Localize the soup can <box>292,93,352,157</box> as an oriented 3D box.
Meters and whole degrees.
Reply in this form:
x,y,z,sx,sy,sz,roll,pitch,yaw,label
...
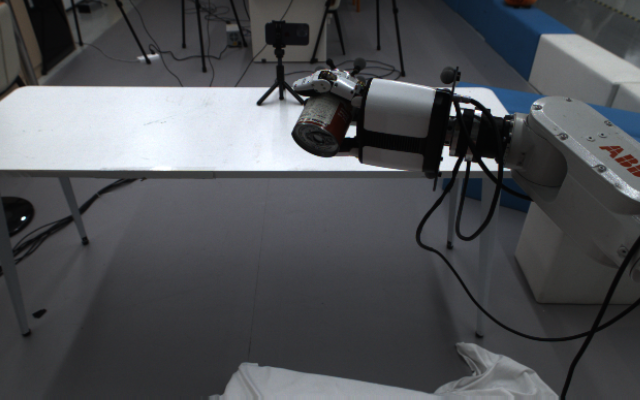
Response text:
x,y,z,sx,sy,sz,roll,pitch,yaw,label
0.012,-0.120,0.655,0.067,0.067,0.101,15,63,18,soup can
